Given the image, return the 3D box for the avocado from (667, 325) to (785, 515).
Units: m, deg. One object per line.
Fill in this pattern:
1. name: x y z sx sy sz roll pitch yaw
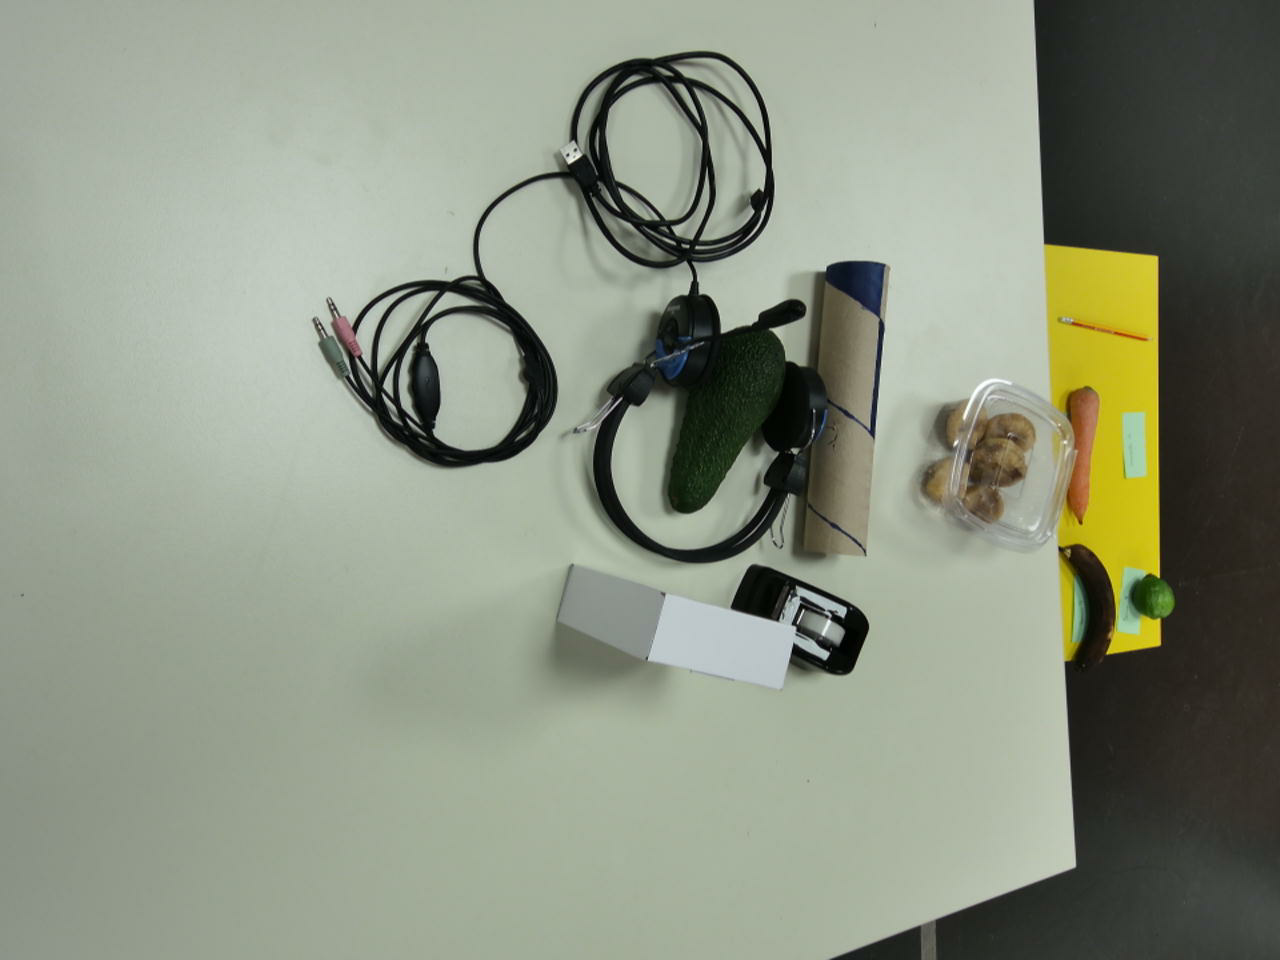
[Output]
1. avocado: 0.064 -0.040 0.697 0.063 0.067 0.141 12 85 -27
